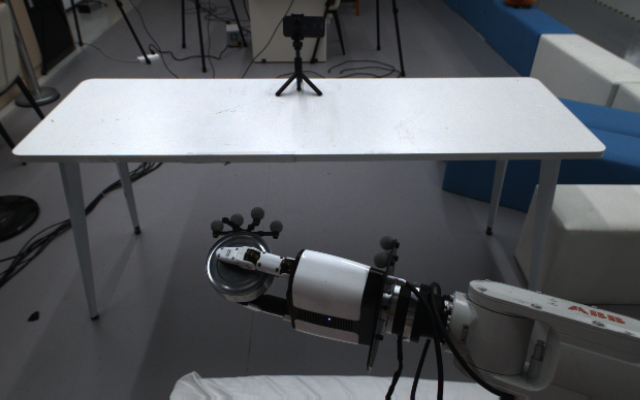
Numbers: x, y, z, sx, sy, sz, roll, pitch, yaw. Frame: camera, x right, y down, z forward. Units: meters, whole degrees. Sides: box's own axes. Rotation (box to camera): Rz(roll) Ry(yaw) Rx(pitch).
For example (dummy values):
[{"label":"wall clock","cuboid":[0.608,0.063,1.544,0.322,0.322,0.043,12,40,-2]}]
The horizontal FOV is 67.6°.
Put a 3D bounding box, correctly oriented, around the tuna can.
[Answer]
[{"label":"tuna can","cuboid":[-0.098,0.090,0.612,0.085,0.034,0.085,-1,58,2]}]
